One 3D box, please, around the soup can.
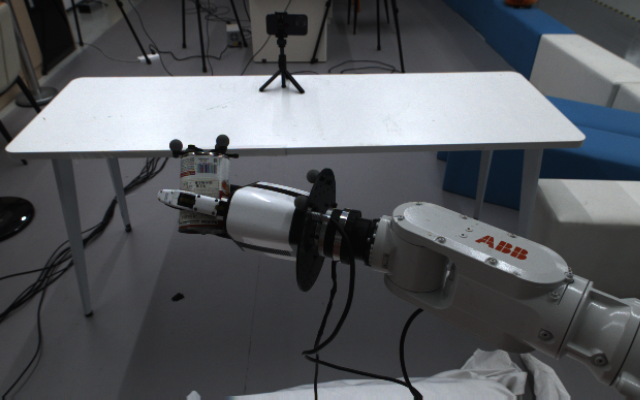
[{"bbox_3d":[-0.154,-0.006,0.648,0.067,0.101,0.067,-1,-9,0],"label":"soup can"}]
